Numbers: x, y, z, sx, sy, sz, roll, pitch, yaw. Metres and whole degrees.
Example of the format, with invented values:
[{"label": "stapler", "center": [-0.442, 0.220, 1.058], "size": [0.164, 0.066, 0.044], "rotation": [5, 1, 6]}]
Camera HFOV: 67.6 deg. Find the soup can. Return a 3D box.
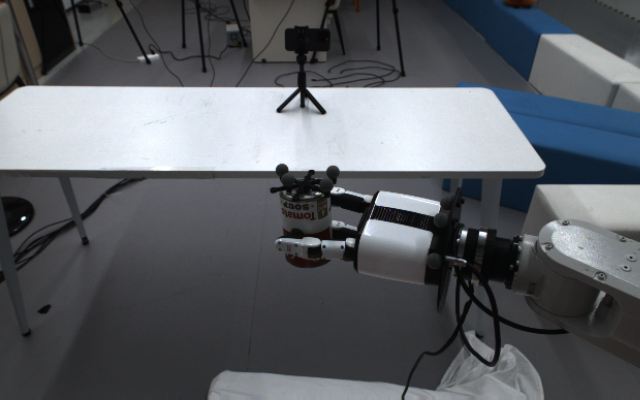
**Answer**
[{"label": "soup can", "center": [-0.015, 0.029, 0.645], "size": [0.067, 0.101, 0.067], "rotation": [-3, 27, 2]}]
